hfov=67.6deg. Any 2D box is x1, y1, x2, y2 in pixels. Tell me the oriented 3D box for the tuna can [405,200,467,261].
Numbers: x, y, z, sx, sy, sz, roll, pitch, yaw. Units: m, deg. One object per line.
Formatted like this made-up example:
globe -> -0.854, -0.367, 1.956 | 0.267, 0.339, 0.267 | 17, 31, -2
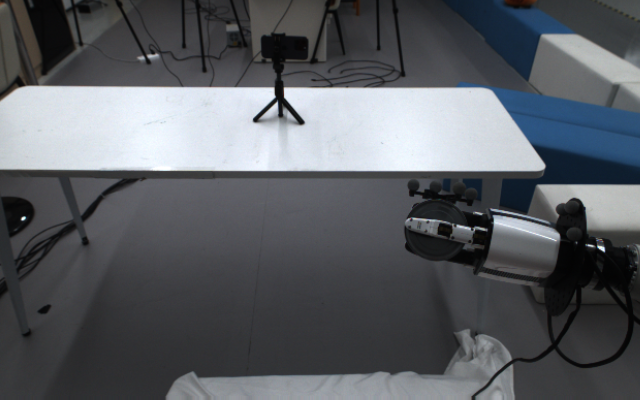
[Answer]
tuna can -> 0.163, 0.038, 0.676 | 0.085, 0.085, 0.034 | 10, -6, 12
